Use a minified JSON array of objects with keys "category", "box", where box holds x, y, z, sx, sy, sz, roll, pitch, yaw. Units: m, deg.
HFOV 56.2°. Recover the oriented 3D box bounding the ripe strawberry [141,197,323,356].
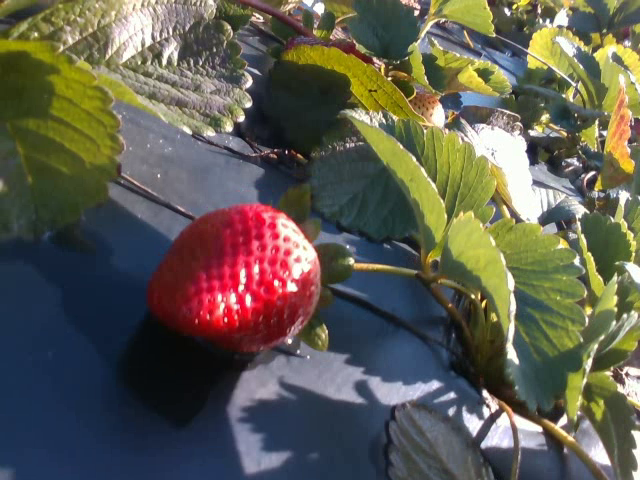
[{"category":"ripe strawberry","box":[-0.021,0.011,0.139,0.045,0.041,0.056,-13,7,23]}]
